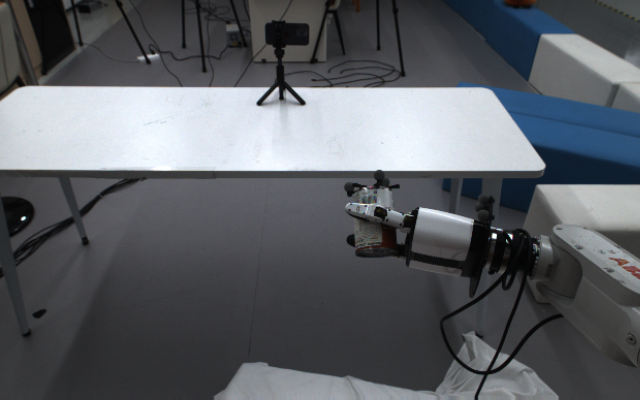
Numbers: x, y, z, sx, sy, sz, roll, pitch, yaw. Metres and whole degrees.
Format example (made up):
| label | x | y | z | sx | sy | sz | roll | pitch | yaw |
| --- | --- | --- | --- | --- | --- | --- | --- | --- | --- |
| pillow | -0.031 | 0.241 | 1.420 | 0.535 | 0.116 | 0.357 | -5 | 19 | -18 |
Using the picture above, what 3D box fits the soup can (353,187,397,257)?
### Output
| label | x | y | z | sx | sy | sz | roll | pitch | yaw |
| --- | --- | --- | --- | --- | --- | --- | --- | --- | --- |
| soup can | 0.089 | 0.036 | 0.771 | 0.067 | 0.067 | 0.101 | -1 | 71 | -5 |
